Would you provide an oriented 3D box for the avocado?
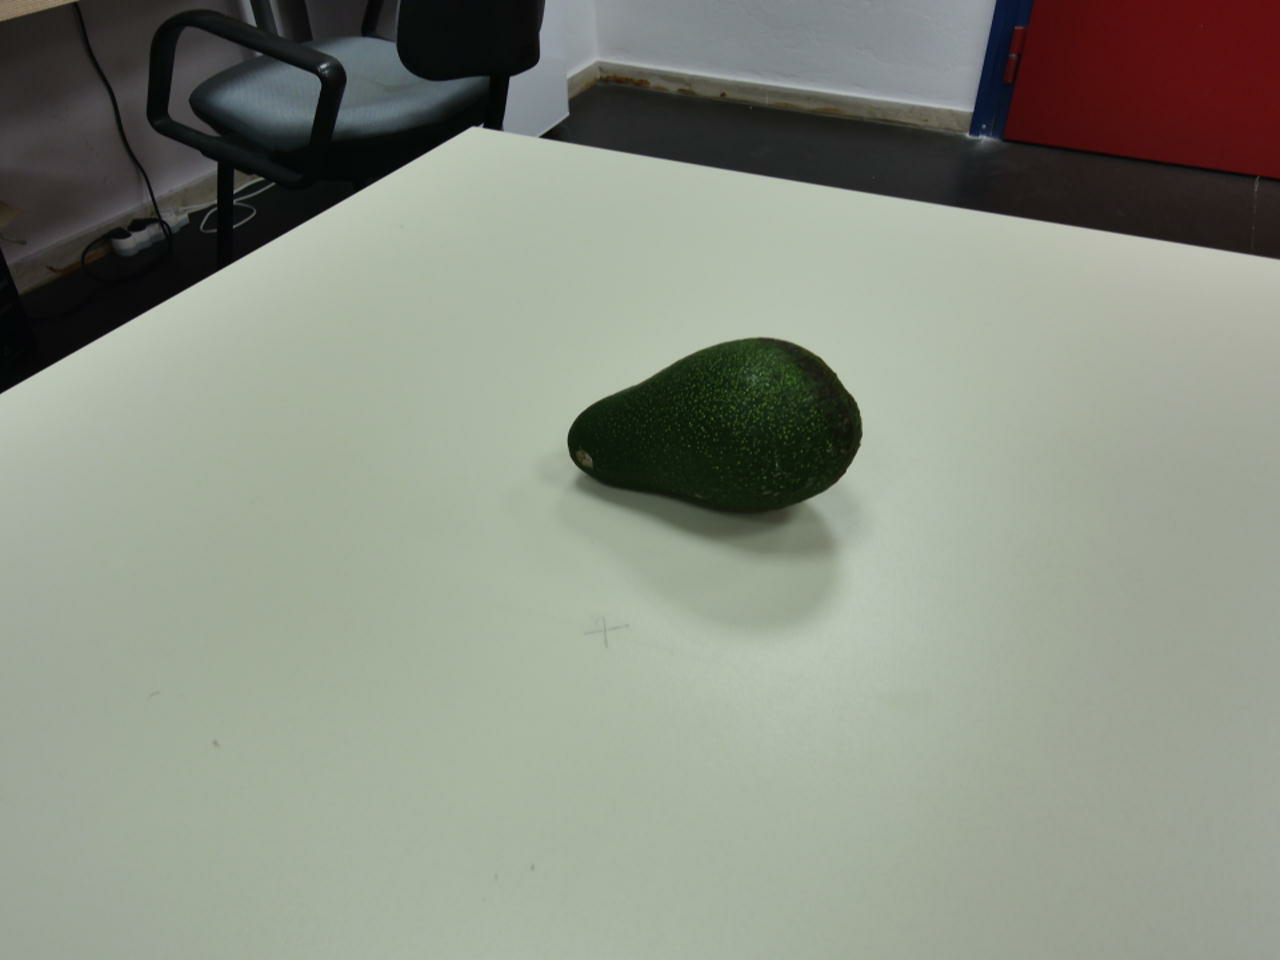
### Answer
[{"bbox_3d":[0.035,-0.028,0.427,0.123,0.076,0.074,22,42,26],"label":"avocado"}]
